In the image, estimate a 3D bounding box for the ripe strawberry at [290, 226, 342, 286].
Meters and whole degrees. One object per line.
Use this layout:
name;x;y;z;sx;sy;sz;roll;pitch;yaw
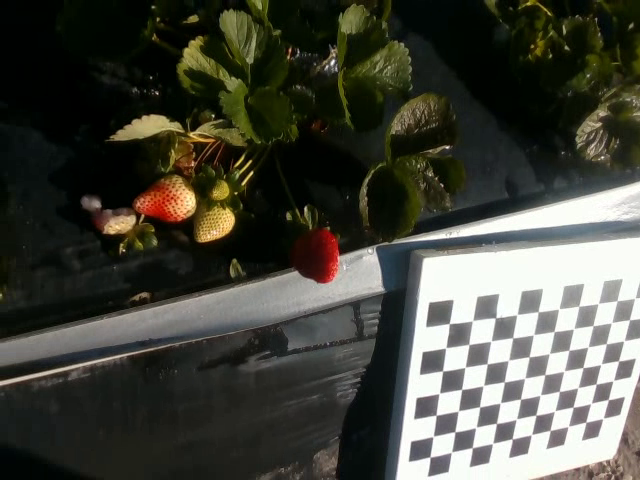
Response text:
ripe strawberry;-0.003;0.013;0.358;0.036;0.038;0.046;-5;36;-16
